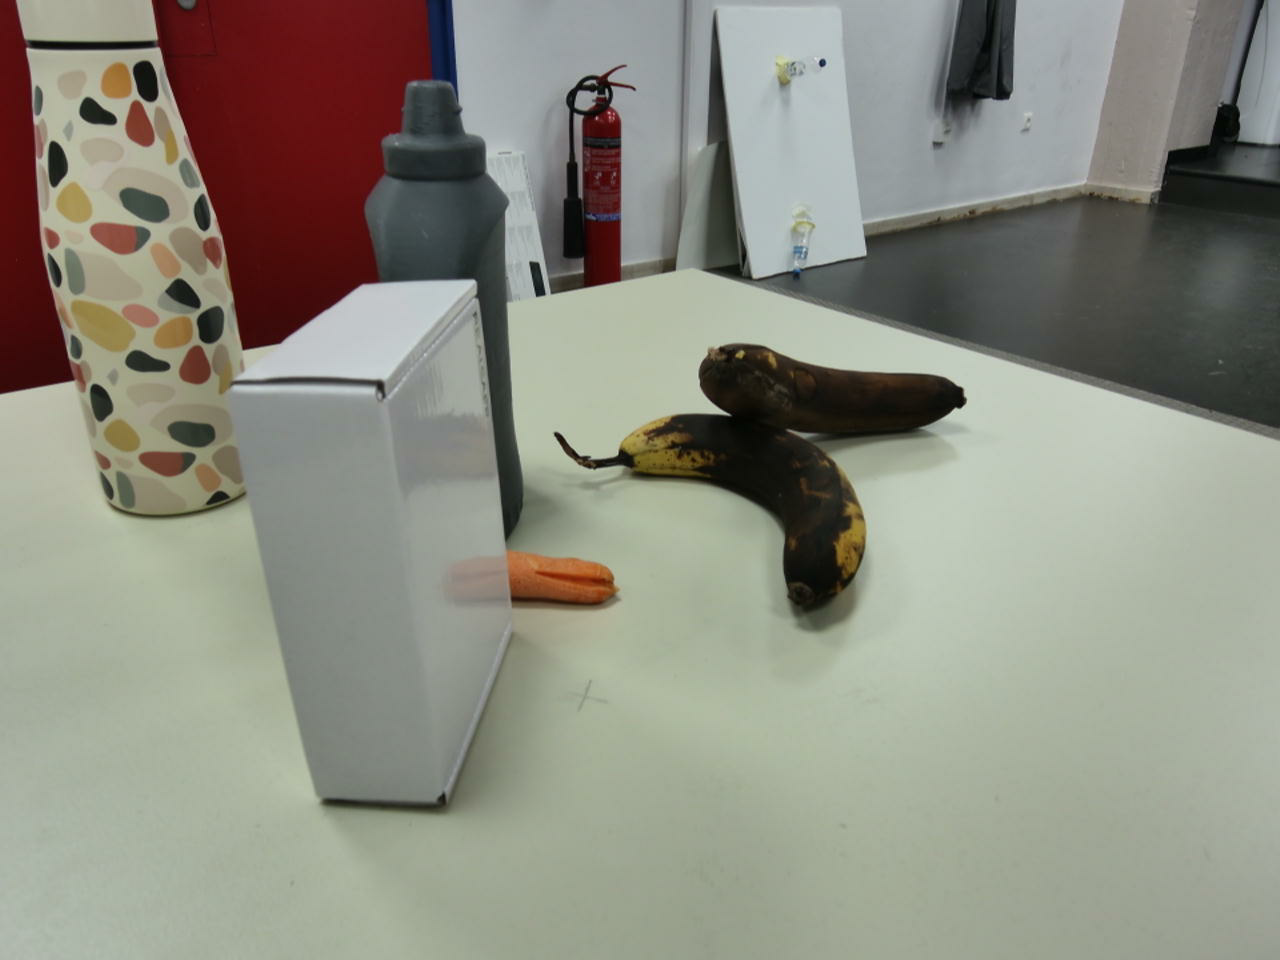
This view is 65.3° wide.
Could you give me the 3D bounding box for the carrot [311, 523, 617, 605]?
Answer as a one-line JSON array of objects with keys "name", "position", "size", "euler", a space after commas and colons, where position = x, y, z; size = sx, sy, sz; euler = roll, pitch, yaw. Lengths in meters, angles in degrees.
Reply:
[{"name": "carrot", "position": [-0.078, 0.038, 0.439], "size": [0.136, 0.032, 0.030], "euler": [3, 24, 6]}]
